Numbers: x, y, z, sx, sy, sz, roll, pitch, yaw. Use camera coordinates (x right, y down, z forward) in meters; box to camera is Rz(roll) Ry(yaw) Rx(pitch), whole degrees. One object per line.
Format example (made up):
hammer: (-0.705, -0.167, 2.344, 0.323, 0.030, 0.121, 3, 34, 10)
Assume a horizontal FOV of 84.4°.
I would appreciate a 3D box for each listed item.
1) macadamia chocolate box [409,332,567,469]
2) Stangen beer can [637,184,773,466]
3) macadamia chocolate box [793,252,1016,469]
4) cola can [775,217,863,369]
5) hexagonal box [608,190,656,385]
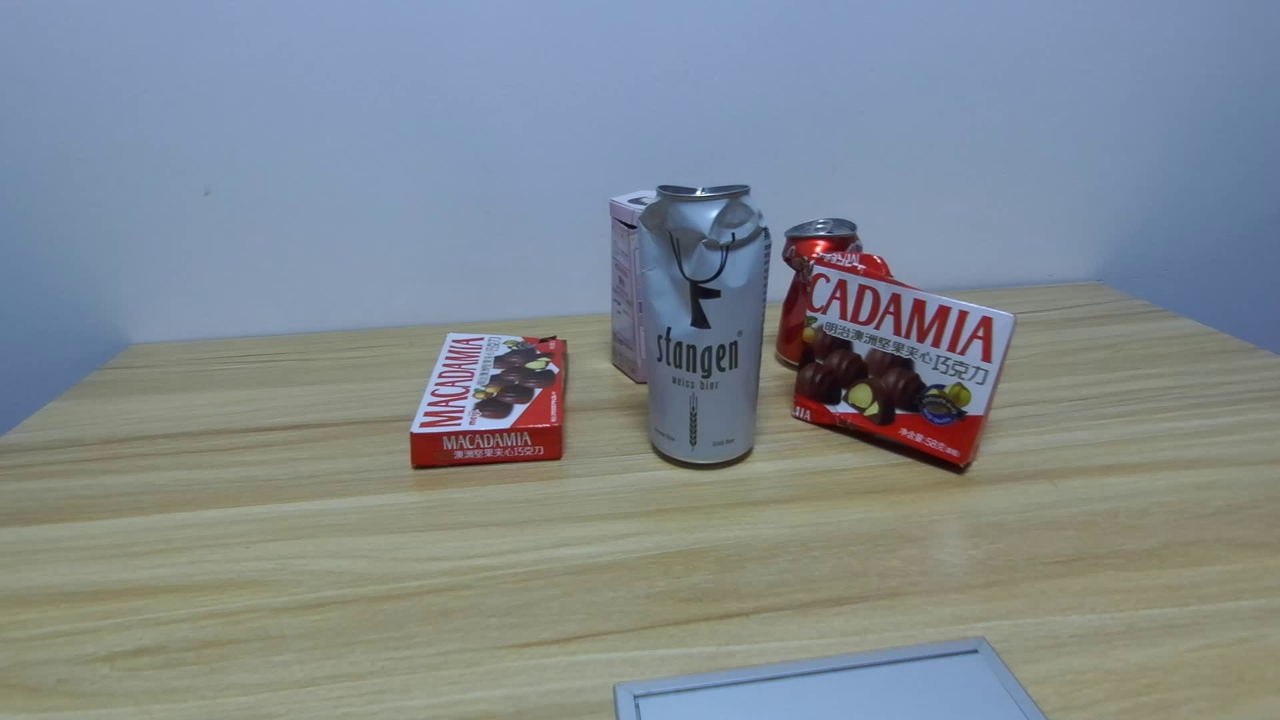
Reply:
macadamia chocolate box: (-0.104, 0.018, 0.525, 0.103, 0.027, 0.186, -2, 24, -7)
Stangen beer can: (0.038, -0.019, 0.428, 0.066, 0.166, 0.065, -18, 27, -35)
macadamia chocolate box: (0.165, -0.004, 0.452, 0.126, 0.112, 0.056, 20, 29, 39)
cola can: (0.145, -0.053, 0.569, 0.069, 0.112, 0.065, -14, 26, -26)
hexagonal box: (0.019, -0.060, 0.570, 0.085, 0.135, 0.091, -13, 25, -24)
